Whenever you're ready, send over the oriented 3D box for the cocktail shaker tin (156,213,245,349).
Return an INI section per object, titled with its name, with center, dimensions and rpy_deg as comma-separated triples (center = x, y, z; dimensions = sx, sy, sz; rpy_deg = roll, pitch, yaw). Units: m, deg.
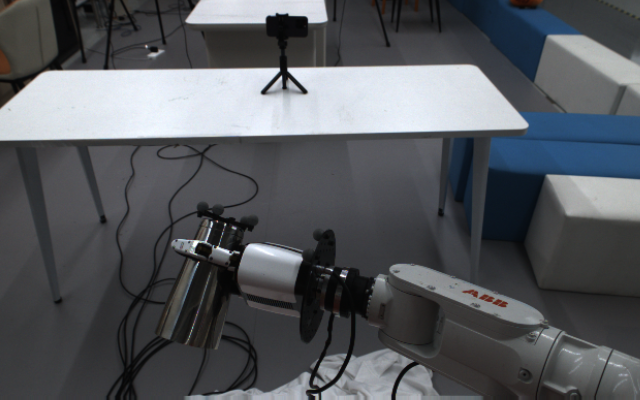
[cocktail shaker tin]
center = -0.164, 0.115, 0.698
dimensions = 0.093, 0.093, 0.170
rpy_deg = 13, 77, 15
